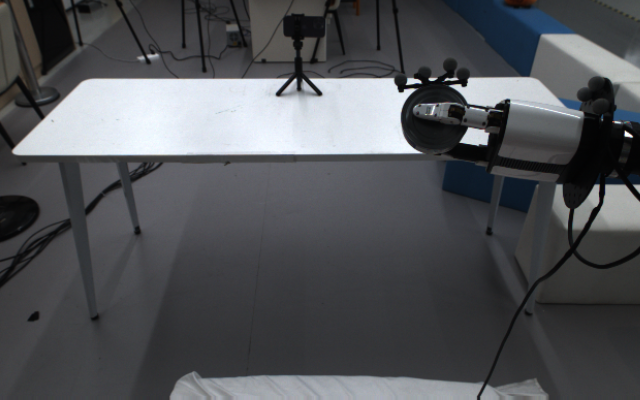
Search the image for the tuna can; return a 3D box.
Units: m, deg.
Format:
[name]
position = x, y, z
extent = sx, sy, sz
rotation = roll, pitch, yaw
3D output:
[tuna can]
position = 0.148, -0.105, 0.628
extent = 0.085, 0.085, 0.034
rotation = 10, -6, 11
